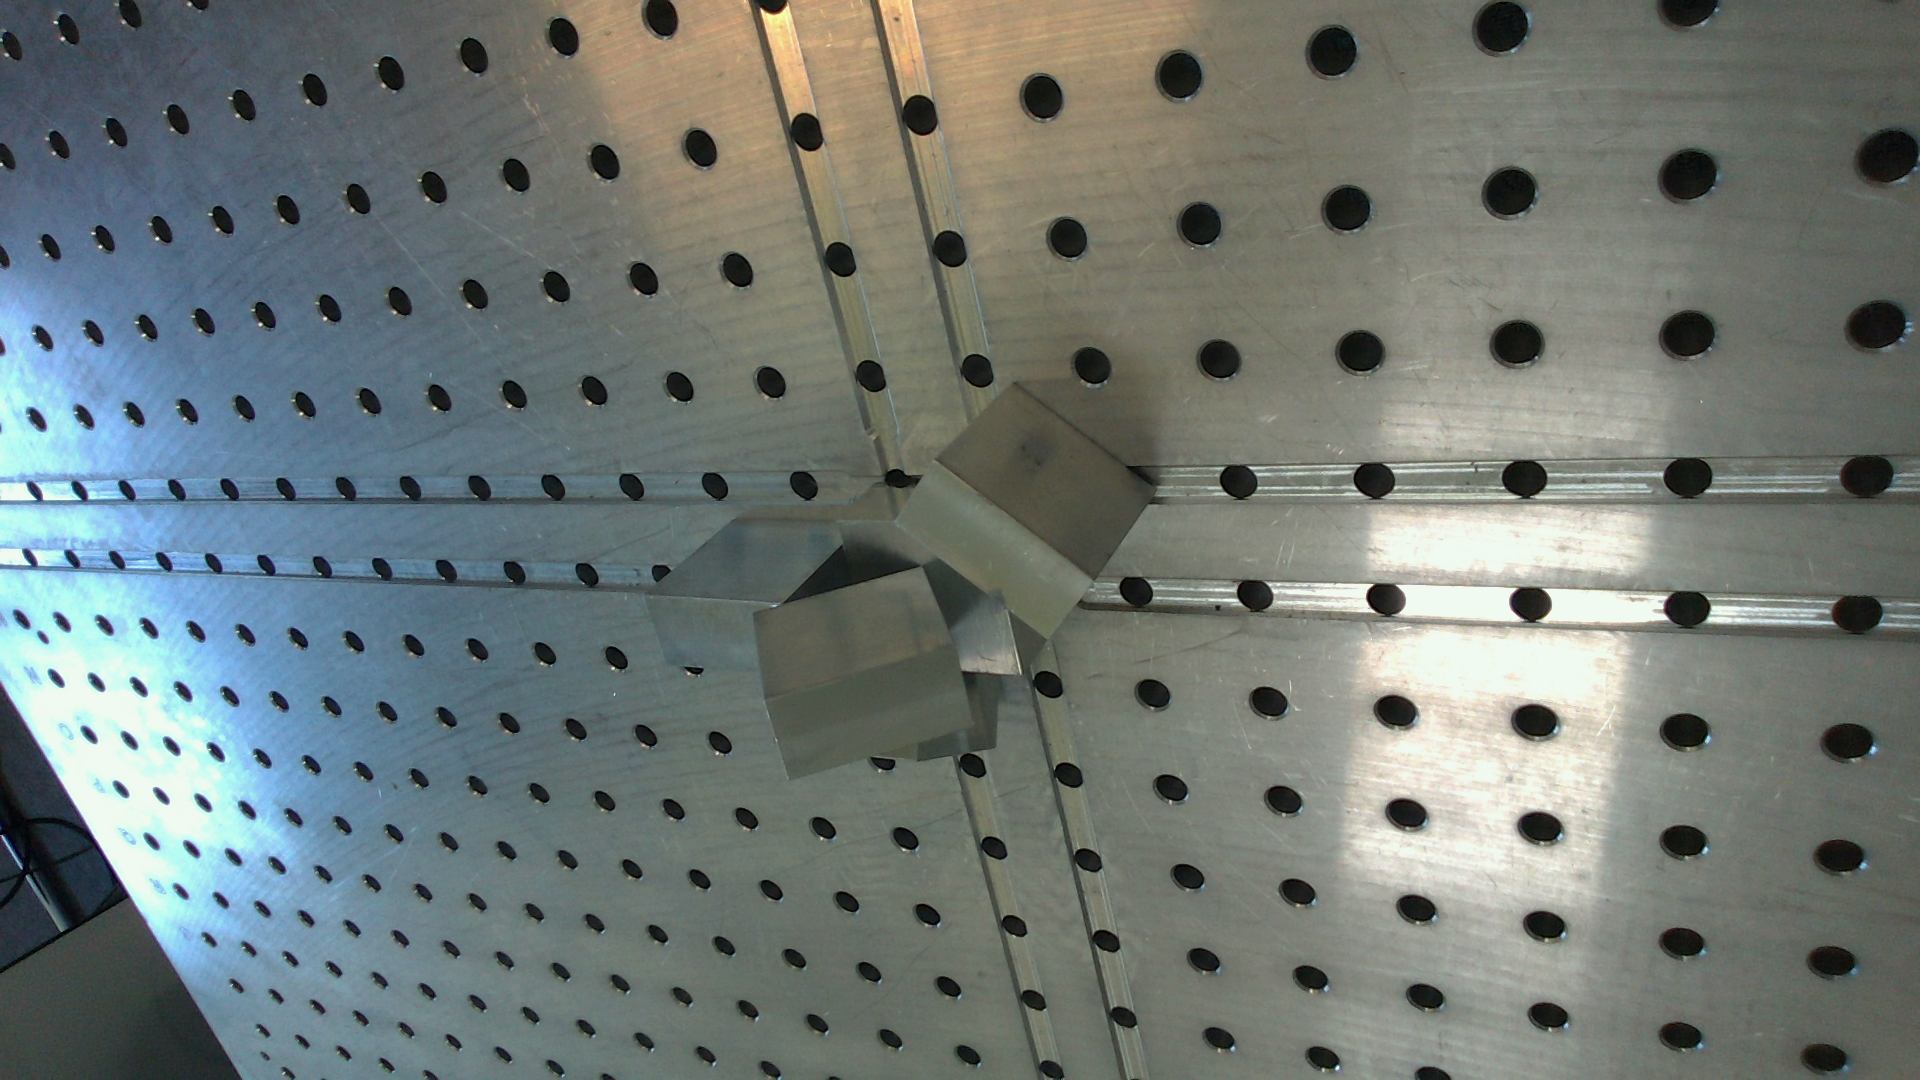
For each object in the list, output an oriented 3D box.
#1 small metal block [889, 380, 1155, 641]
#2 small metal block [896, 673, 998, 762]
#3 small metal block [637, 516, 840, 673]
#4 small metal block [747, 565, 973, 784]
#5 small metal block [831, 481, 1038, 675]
[{"bbox_3d":[0.018,-0.009,0.365,0.050,0.050,0.025,37,129,3],"label":"small metal block"},{"bbox_3d":[-0.022,0.051,0.420,0.050,0.050,0.025,1,87,28],"label":"small metal block"},{"bbox_3d":[-0.061,0.016,0.422,0.050,0.050,0.025,2,120,28],"label":"small metal block"},{"bbox_3d":[-0.028,0.035,0.371,0.050,0.050,0.025,-15,117,-6],"label":"small metal block"},{"bbox_3d":[-0.005,0.010,0.405,0.050,0.025,0.050,1,119,27],"label":"small metal block"}]
